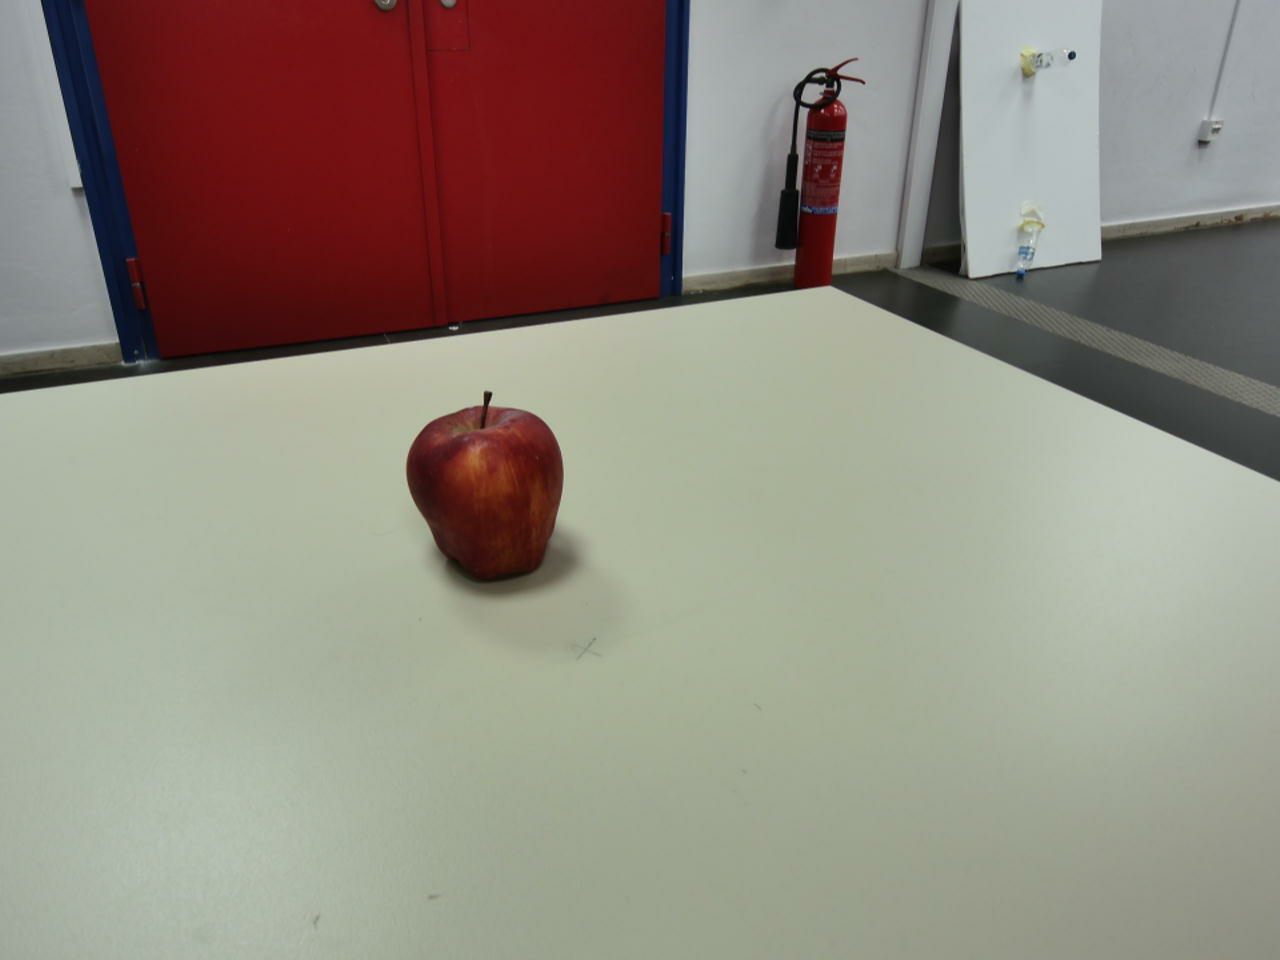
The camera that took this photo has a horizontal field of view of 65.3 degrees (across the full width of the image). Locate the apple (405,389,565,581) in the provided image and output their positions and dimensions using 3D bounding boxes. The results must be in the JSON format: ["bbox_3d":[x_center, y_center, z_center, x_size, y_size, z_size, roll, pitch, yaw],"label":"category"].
[{"bbox_3d":[-0.077,-0.001,0.499,0.083,0.090,0.083,0,25,0],"label":"apple"}]
